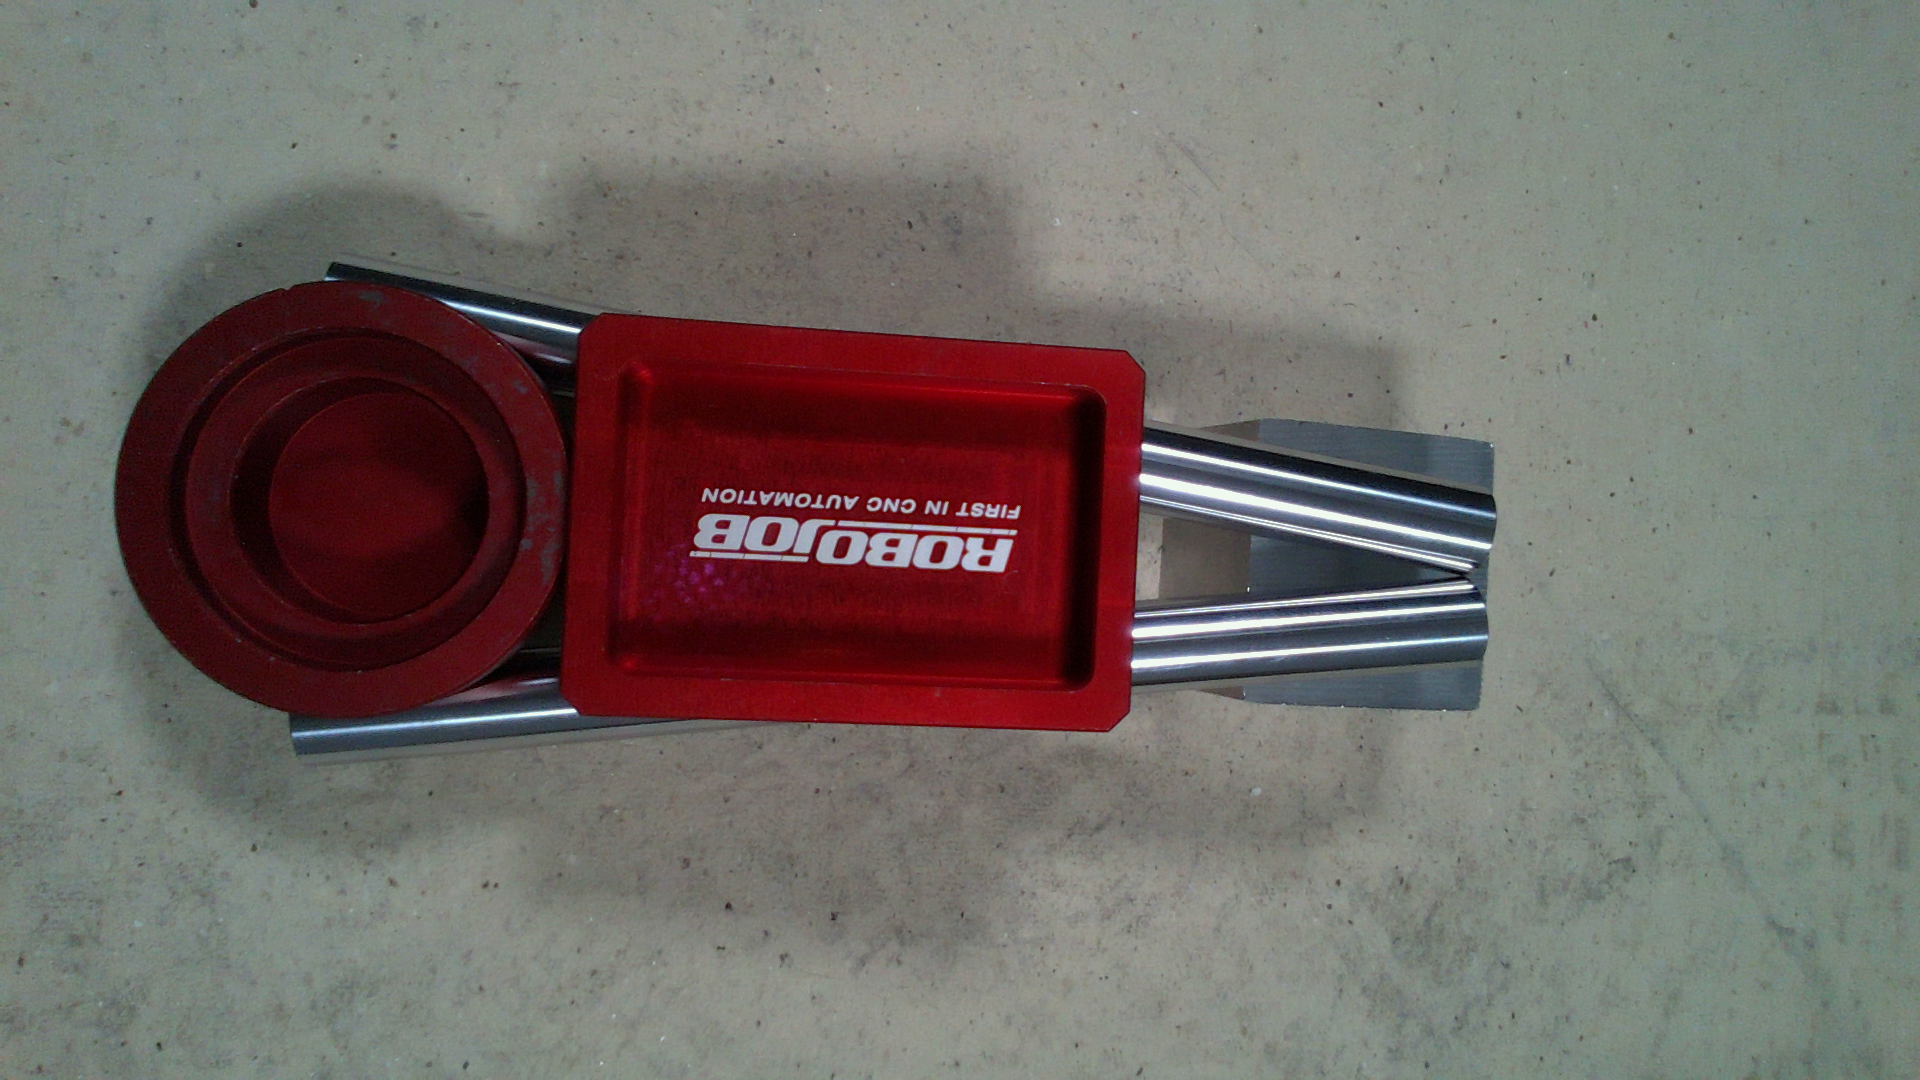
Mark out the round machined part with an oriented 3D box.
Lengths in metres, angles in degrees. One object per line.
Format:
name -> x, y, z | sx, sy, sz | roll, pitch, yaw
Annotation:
round machined part -> -0.140, -0.009, 0.328 | 0.098, 0.042, 0.098 | 0, 90, -9

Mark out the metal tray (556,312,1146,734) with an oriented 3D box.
metal tray -> -0.025, -0.003, 0.327 | 0.130, 0.030, 0.090 | 3, 89, -7

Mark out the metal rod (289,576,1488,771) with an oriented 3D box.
metal rod -> -0.011, 0.033, 0.356 | 0.300, 0.025, 0.025 | -4, 92, -7

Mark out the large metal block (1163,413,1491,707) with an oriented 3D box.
large metal block -> 0.110, 0.007, 0.419 | 0.080, 0.050, 0.080 | 4, 89, -20

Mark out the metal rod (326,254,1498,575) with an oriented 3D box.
metal rod -> -0.007, -0.030, 0.357 | 0.300, 0.025, 0.025 | 11, 86, -7
